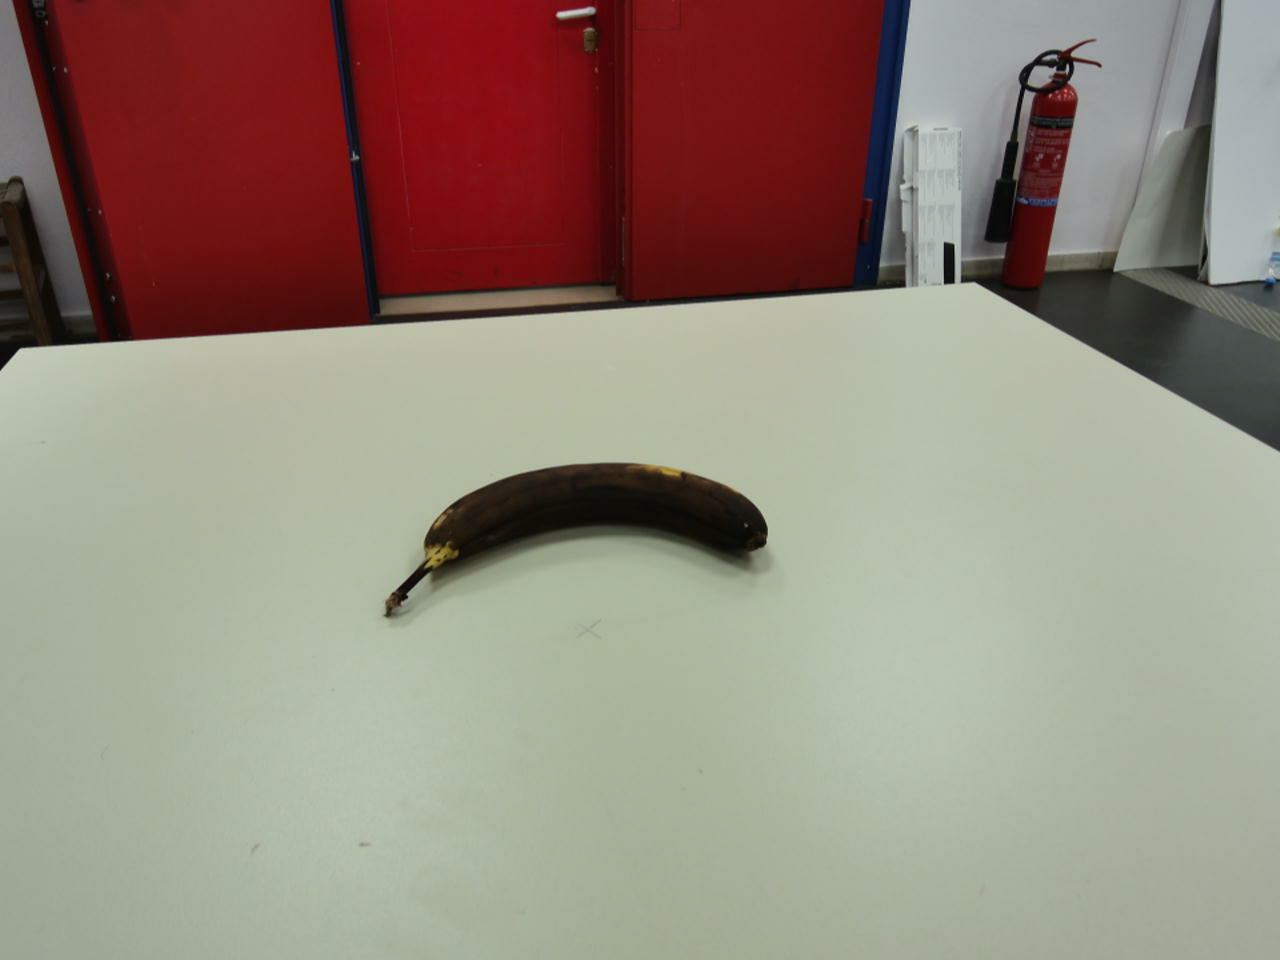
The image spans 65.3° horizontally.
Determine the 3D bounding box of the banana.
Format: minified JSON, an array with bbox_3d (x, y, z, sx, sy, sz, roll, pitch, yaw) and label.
[{"bbox_3d":[-0.034,0.019,0.512,0.188,0.034,0.091,-5,26,-11],"label":"banana"}]
